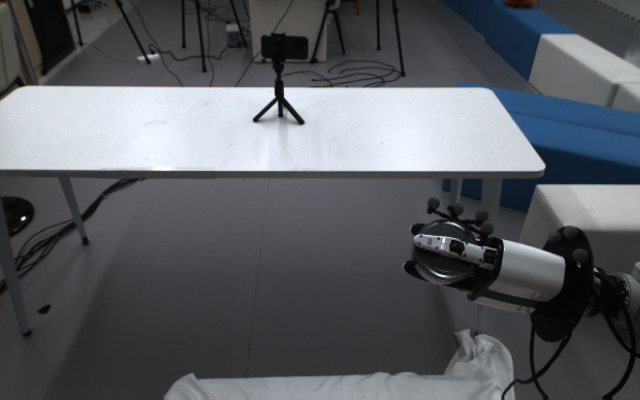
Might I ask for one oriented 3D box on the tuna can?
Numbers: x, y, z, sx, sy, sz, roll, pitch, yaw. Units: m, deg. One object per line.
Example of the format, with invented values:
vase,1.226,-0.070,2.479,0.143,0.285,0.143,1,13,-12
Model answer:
tuna can,0.169,0.069,0.657,0.085,0.034,0.085,0,71,0
